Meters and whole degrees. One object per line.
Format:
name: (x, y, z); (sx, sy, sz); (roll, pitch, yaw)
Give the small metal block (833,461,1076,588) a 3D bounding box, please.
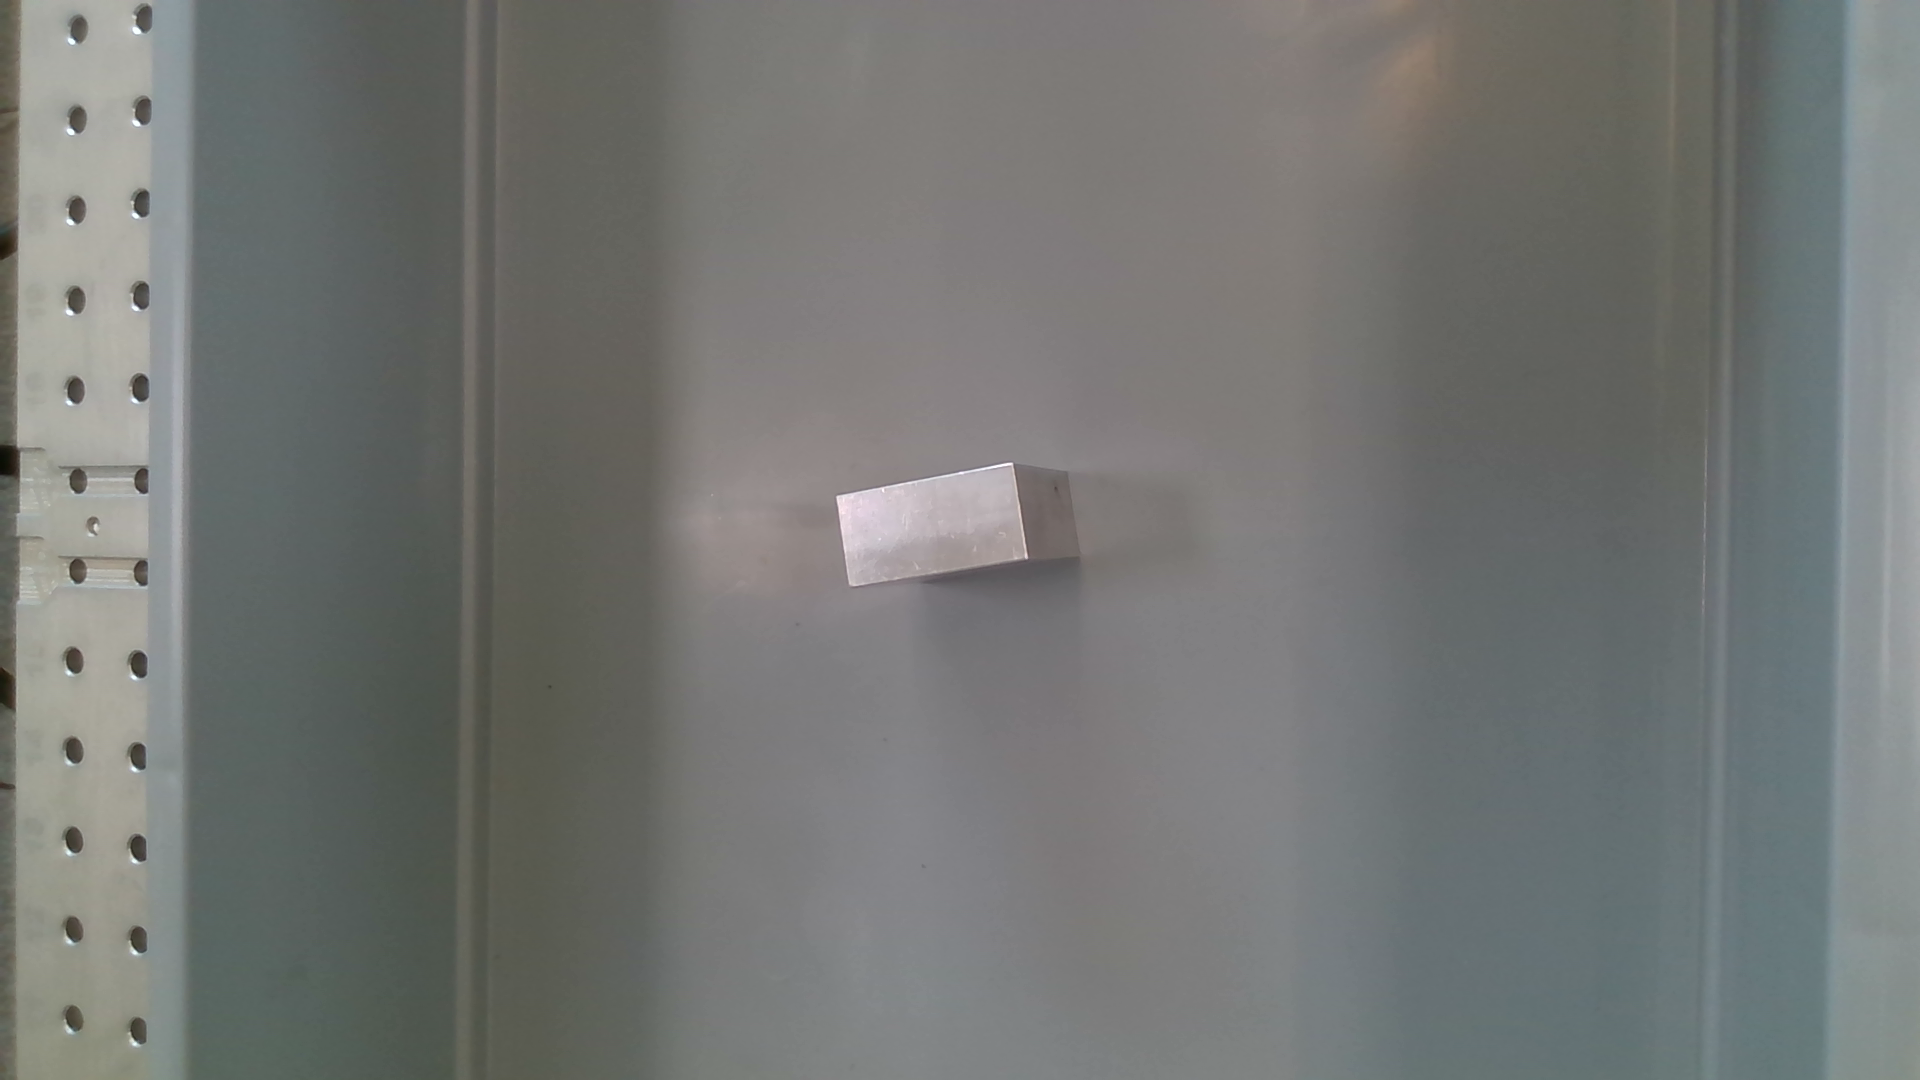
small metal block: (0.000, -0.003, 0.377); (0.050, 0.050, 0.025); (-9, 87, 19)
